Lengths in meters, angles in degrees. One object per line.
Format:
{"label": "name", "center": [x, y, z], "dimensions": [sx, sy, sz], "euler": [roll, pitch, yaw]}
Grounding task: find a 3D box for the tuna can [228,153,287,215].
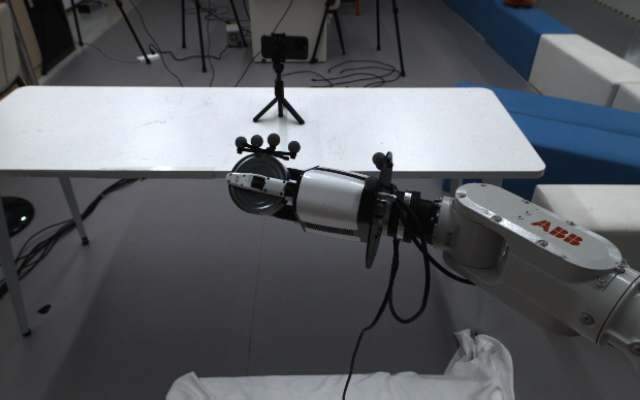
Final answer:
{"label": "tuna can", "center": [-0.082, -0.022, 0.682], "dimensions": [0.085, 0.085, 0.034], "euler": [11, -5, 13]}
